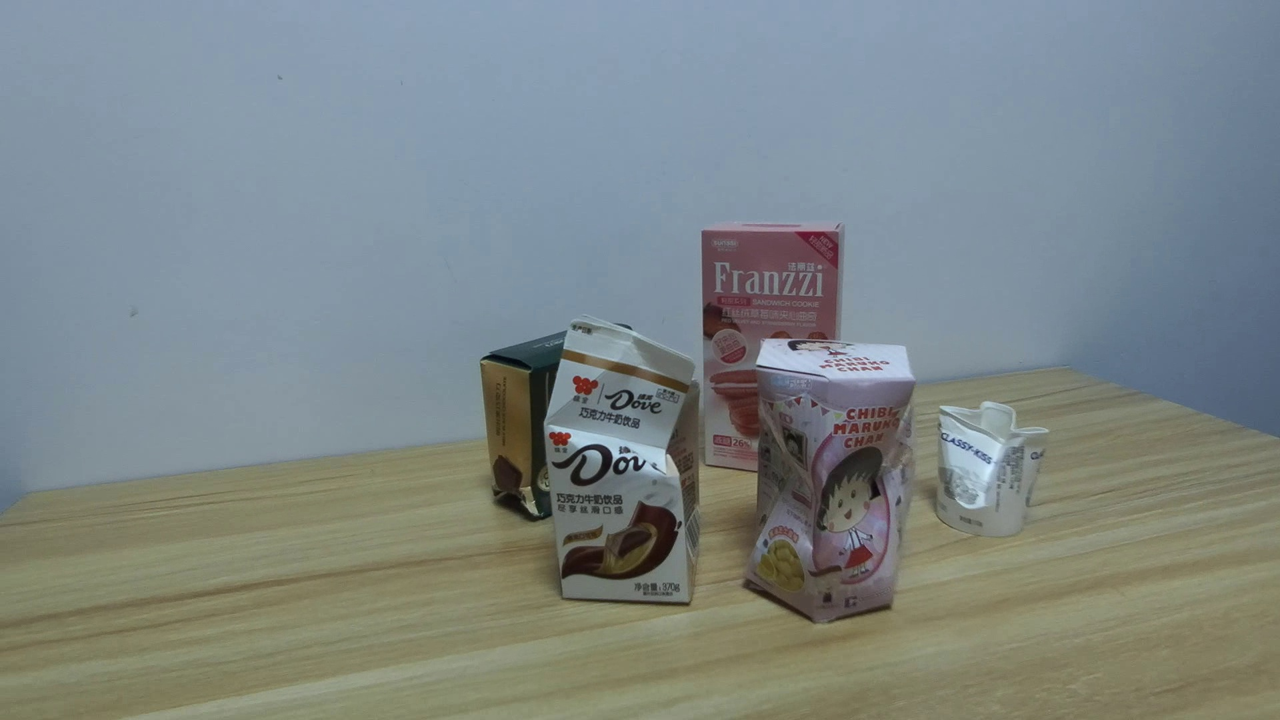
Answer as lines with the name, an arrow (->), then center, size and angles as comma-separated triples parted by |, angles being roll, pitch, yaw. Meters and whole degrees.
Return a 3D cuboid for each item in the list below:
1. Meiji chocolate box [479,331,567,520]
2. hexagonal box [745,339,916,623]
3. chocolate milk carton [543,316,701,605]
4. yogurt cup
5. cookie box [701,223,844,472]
Meiji chocolate box -> -0.055, 0.039, 0.519 | 0.058, 0.116, 0.123 | 13, 22, 40
hexagonal box -> 0.097, 0.061, 0.380 | 0.093, 0.134, 0.089 | 13, 22, 39
chocolate milk carton -> -0.006, 0.049, 0.392 | 0.076, 0.155, 0.073 | 2, 20, 8
yogurt cup -> 0.223, 0.069, 0.452 | 0.055, 0.072, 0.055 | -1, 16, -7
cookie box -> 0.102, -0.013, 0.528 | 0.096, 0.185, 0.048 | 2, 25, 21
